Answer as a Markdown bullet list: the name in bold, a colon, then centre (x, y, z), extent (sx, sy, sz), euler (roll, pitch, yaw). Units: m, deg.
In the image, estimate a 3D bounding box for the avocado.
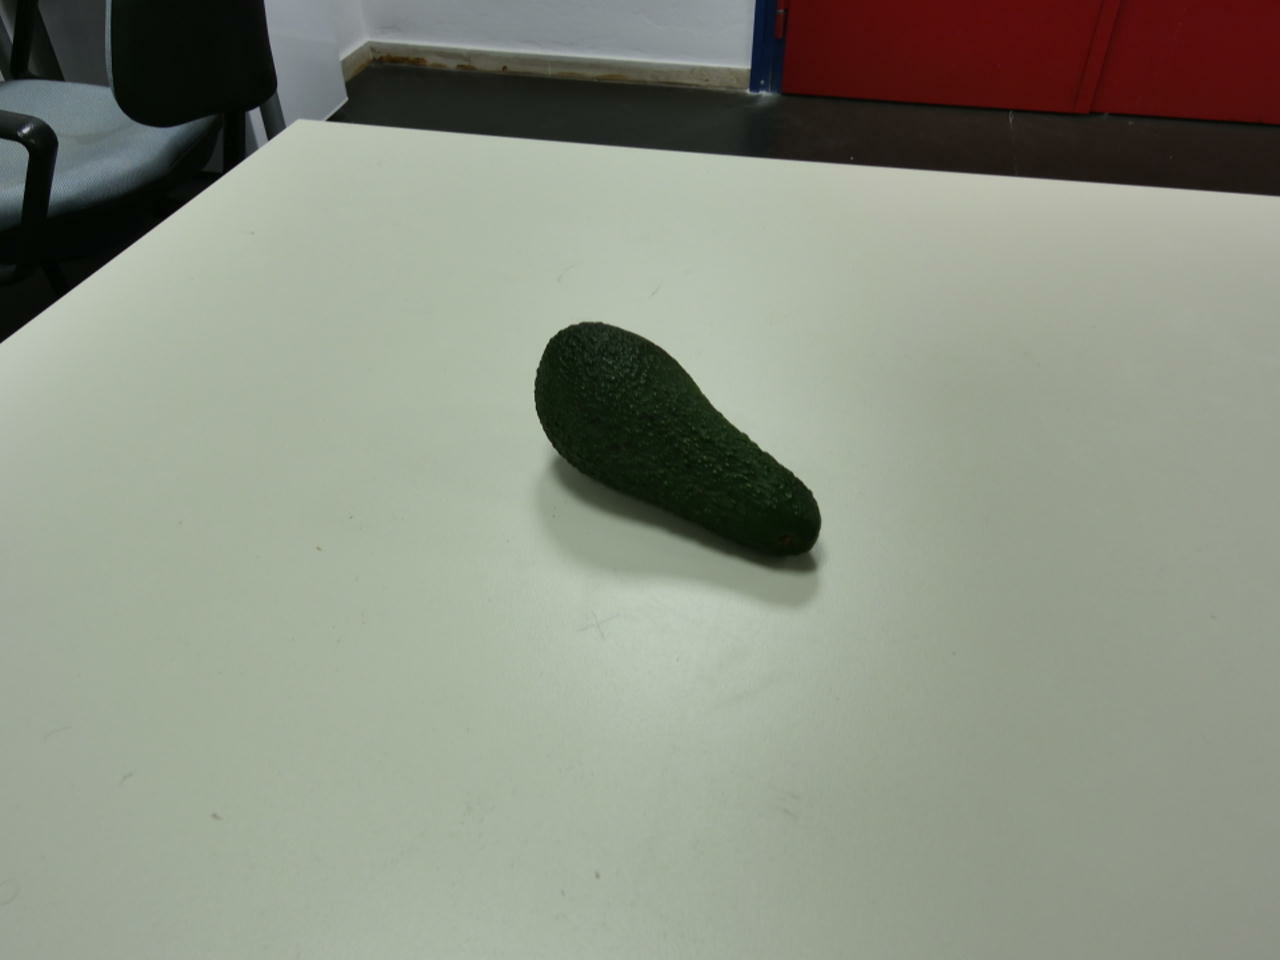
- **avocado**: centre (0.016, -0.023, 0.416), extent (0.141, 0.067, 0.063), euler (19, 42, 23)
